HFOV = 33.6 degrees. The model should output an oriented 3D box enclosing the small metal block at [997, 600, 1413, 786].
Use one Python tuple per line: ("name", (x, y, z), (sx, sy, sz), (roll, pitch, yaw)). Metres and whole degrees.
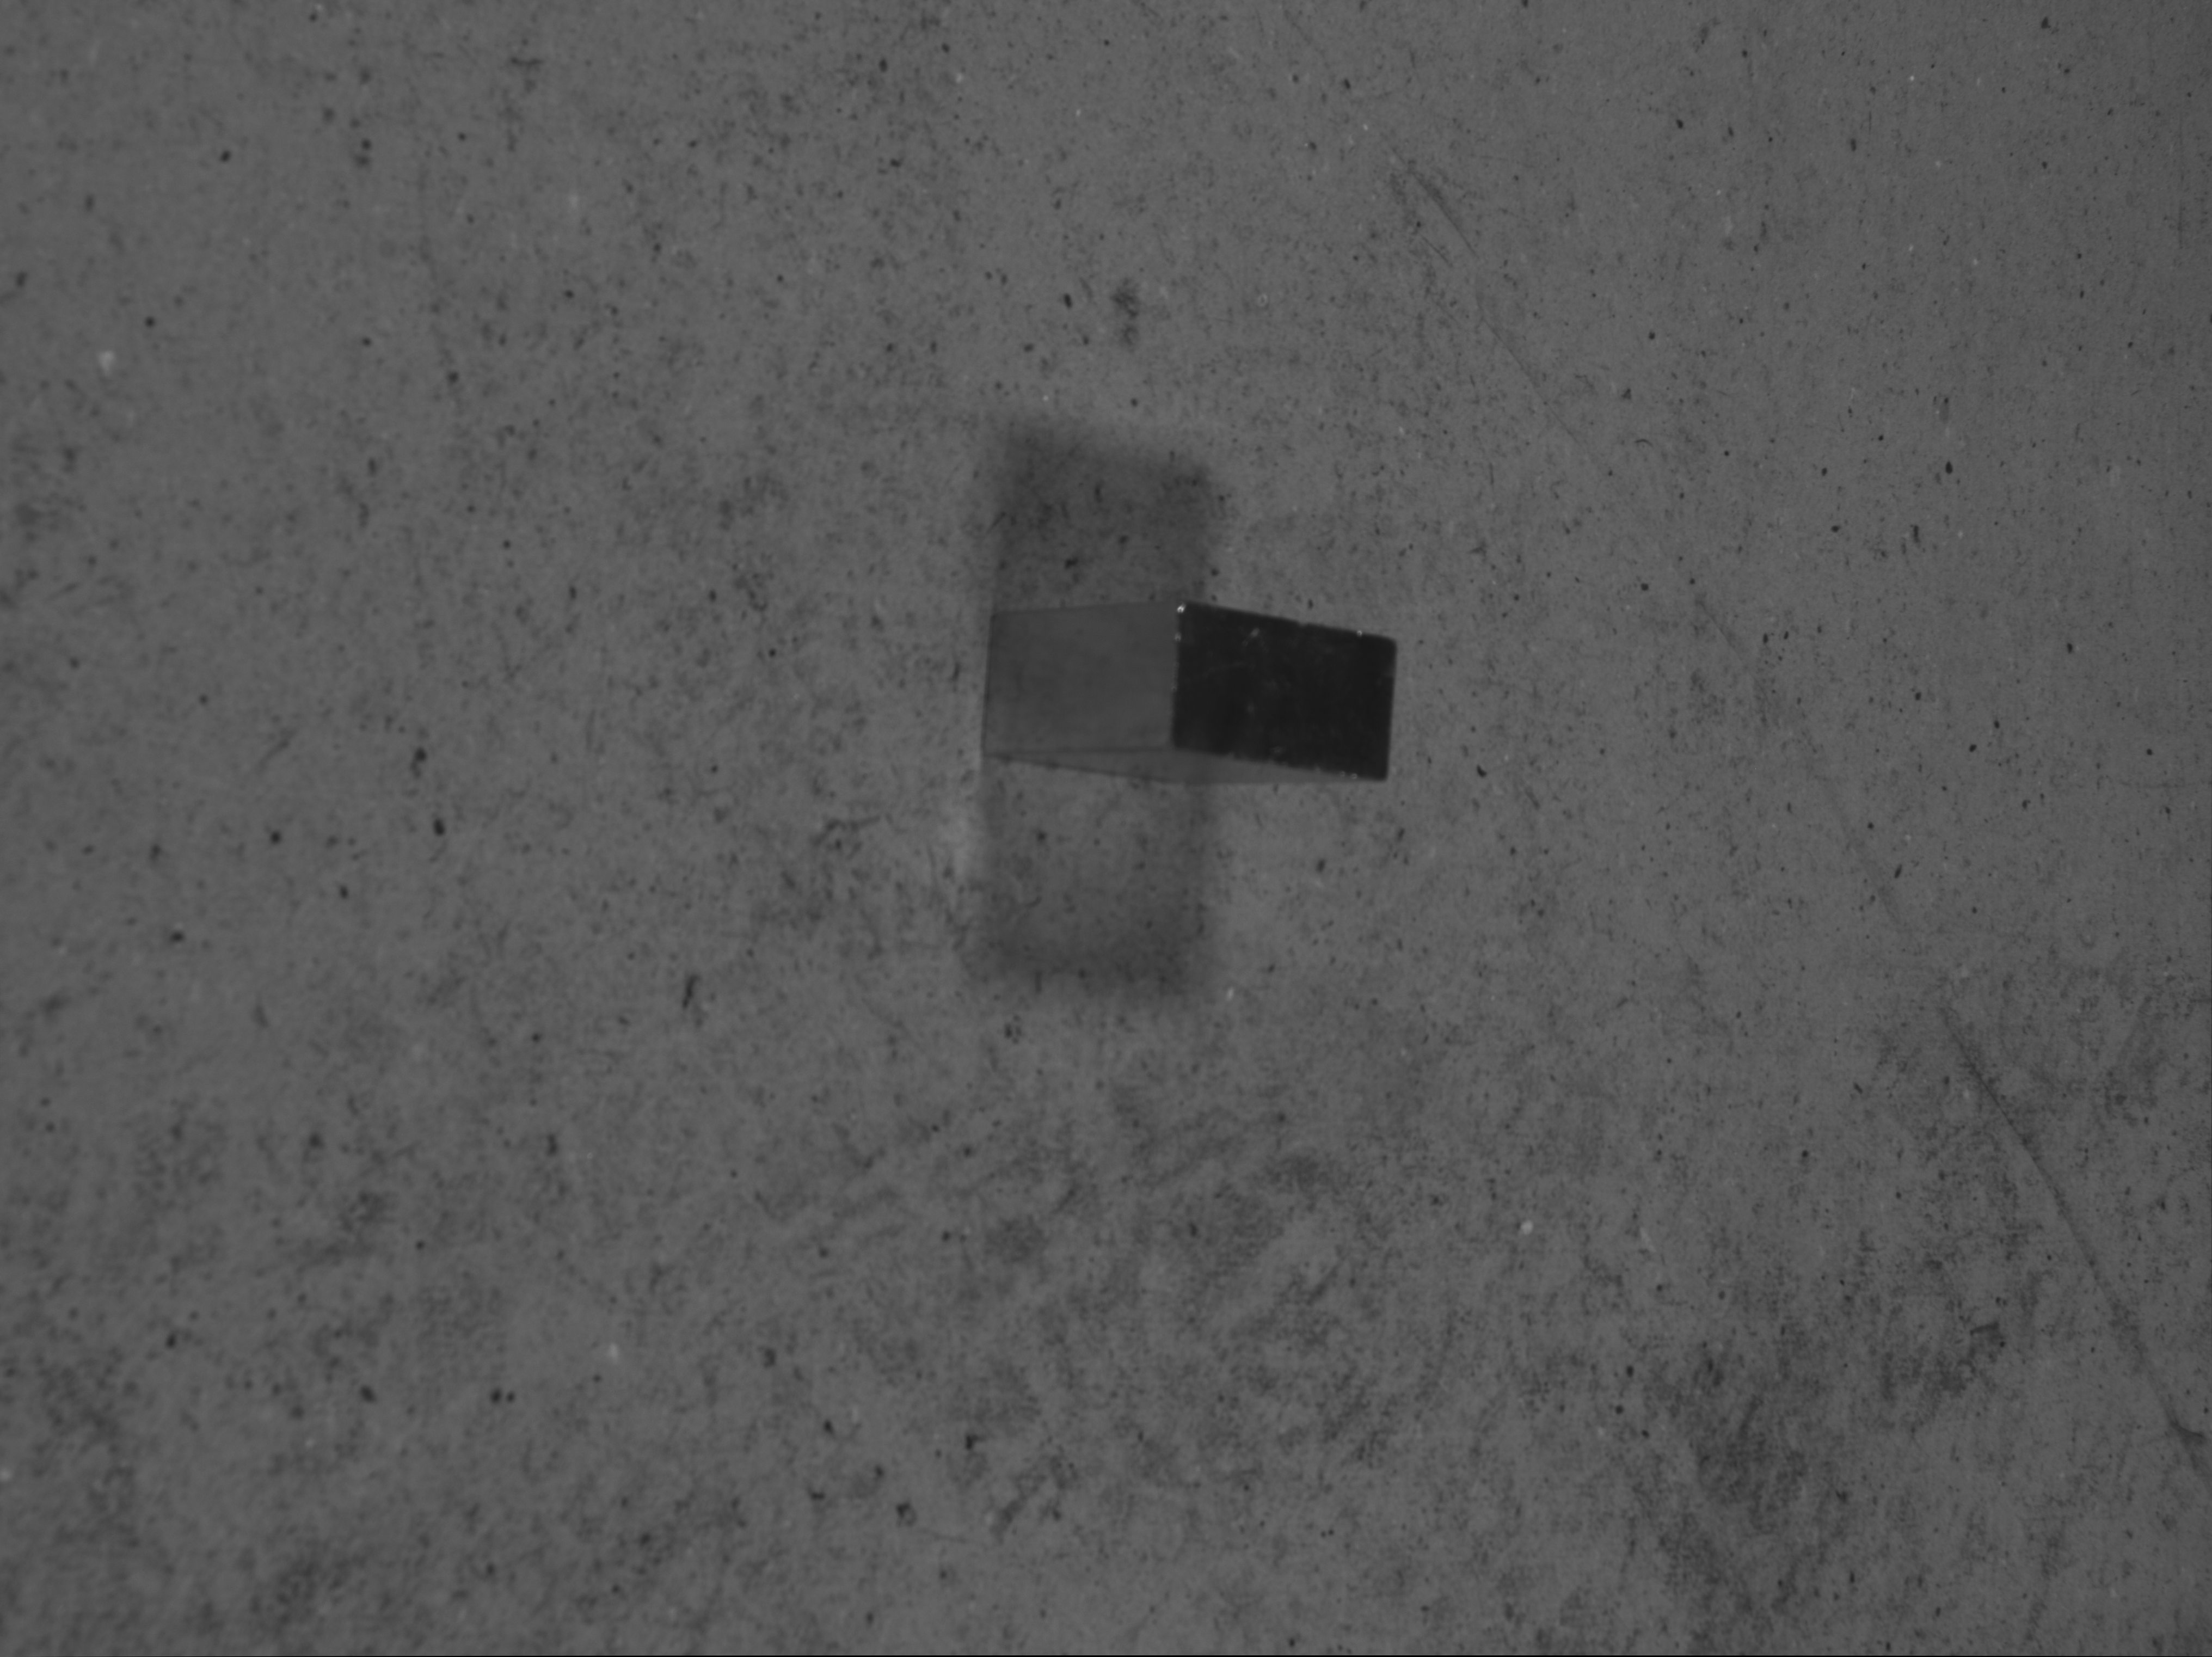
("small metal block", (0.017, -0.023, 0.635), (0.050, 0.050, 0.025), (7, 85, -40))
